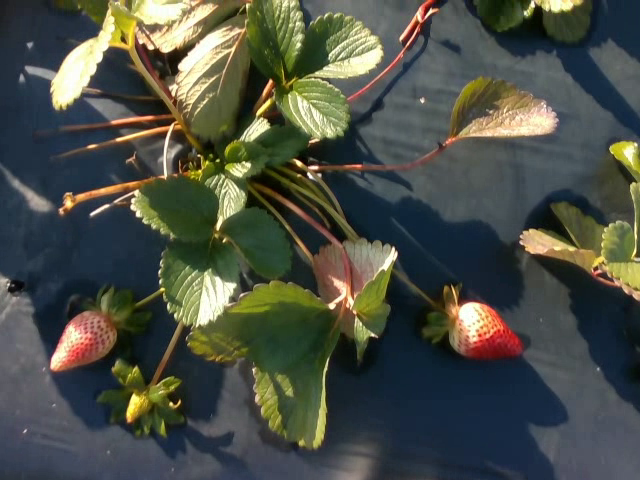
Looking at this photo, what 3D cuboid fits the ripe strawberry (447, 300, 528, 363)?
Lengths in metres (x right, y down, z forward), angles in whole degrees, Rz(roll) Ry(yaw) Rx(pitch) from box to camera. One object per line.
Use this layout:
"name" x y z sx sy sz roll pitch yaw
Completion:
"ripe strawberry" 0.114 0.062 0.395 0.063 0.045 0.044 21 41 -1
